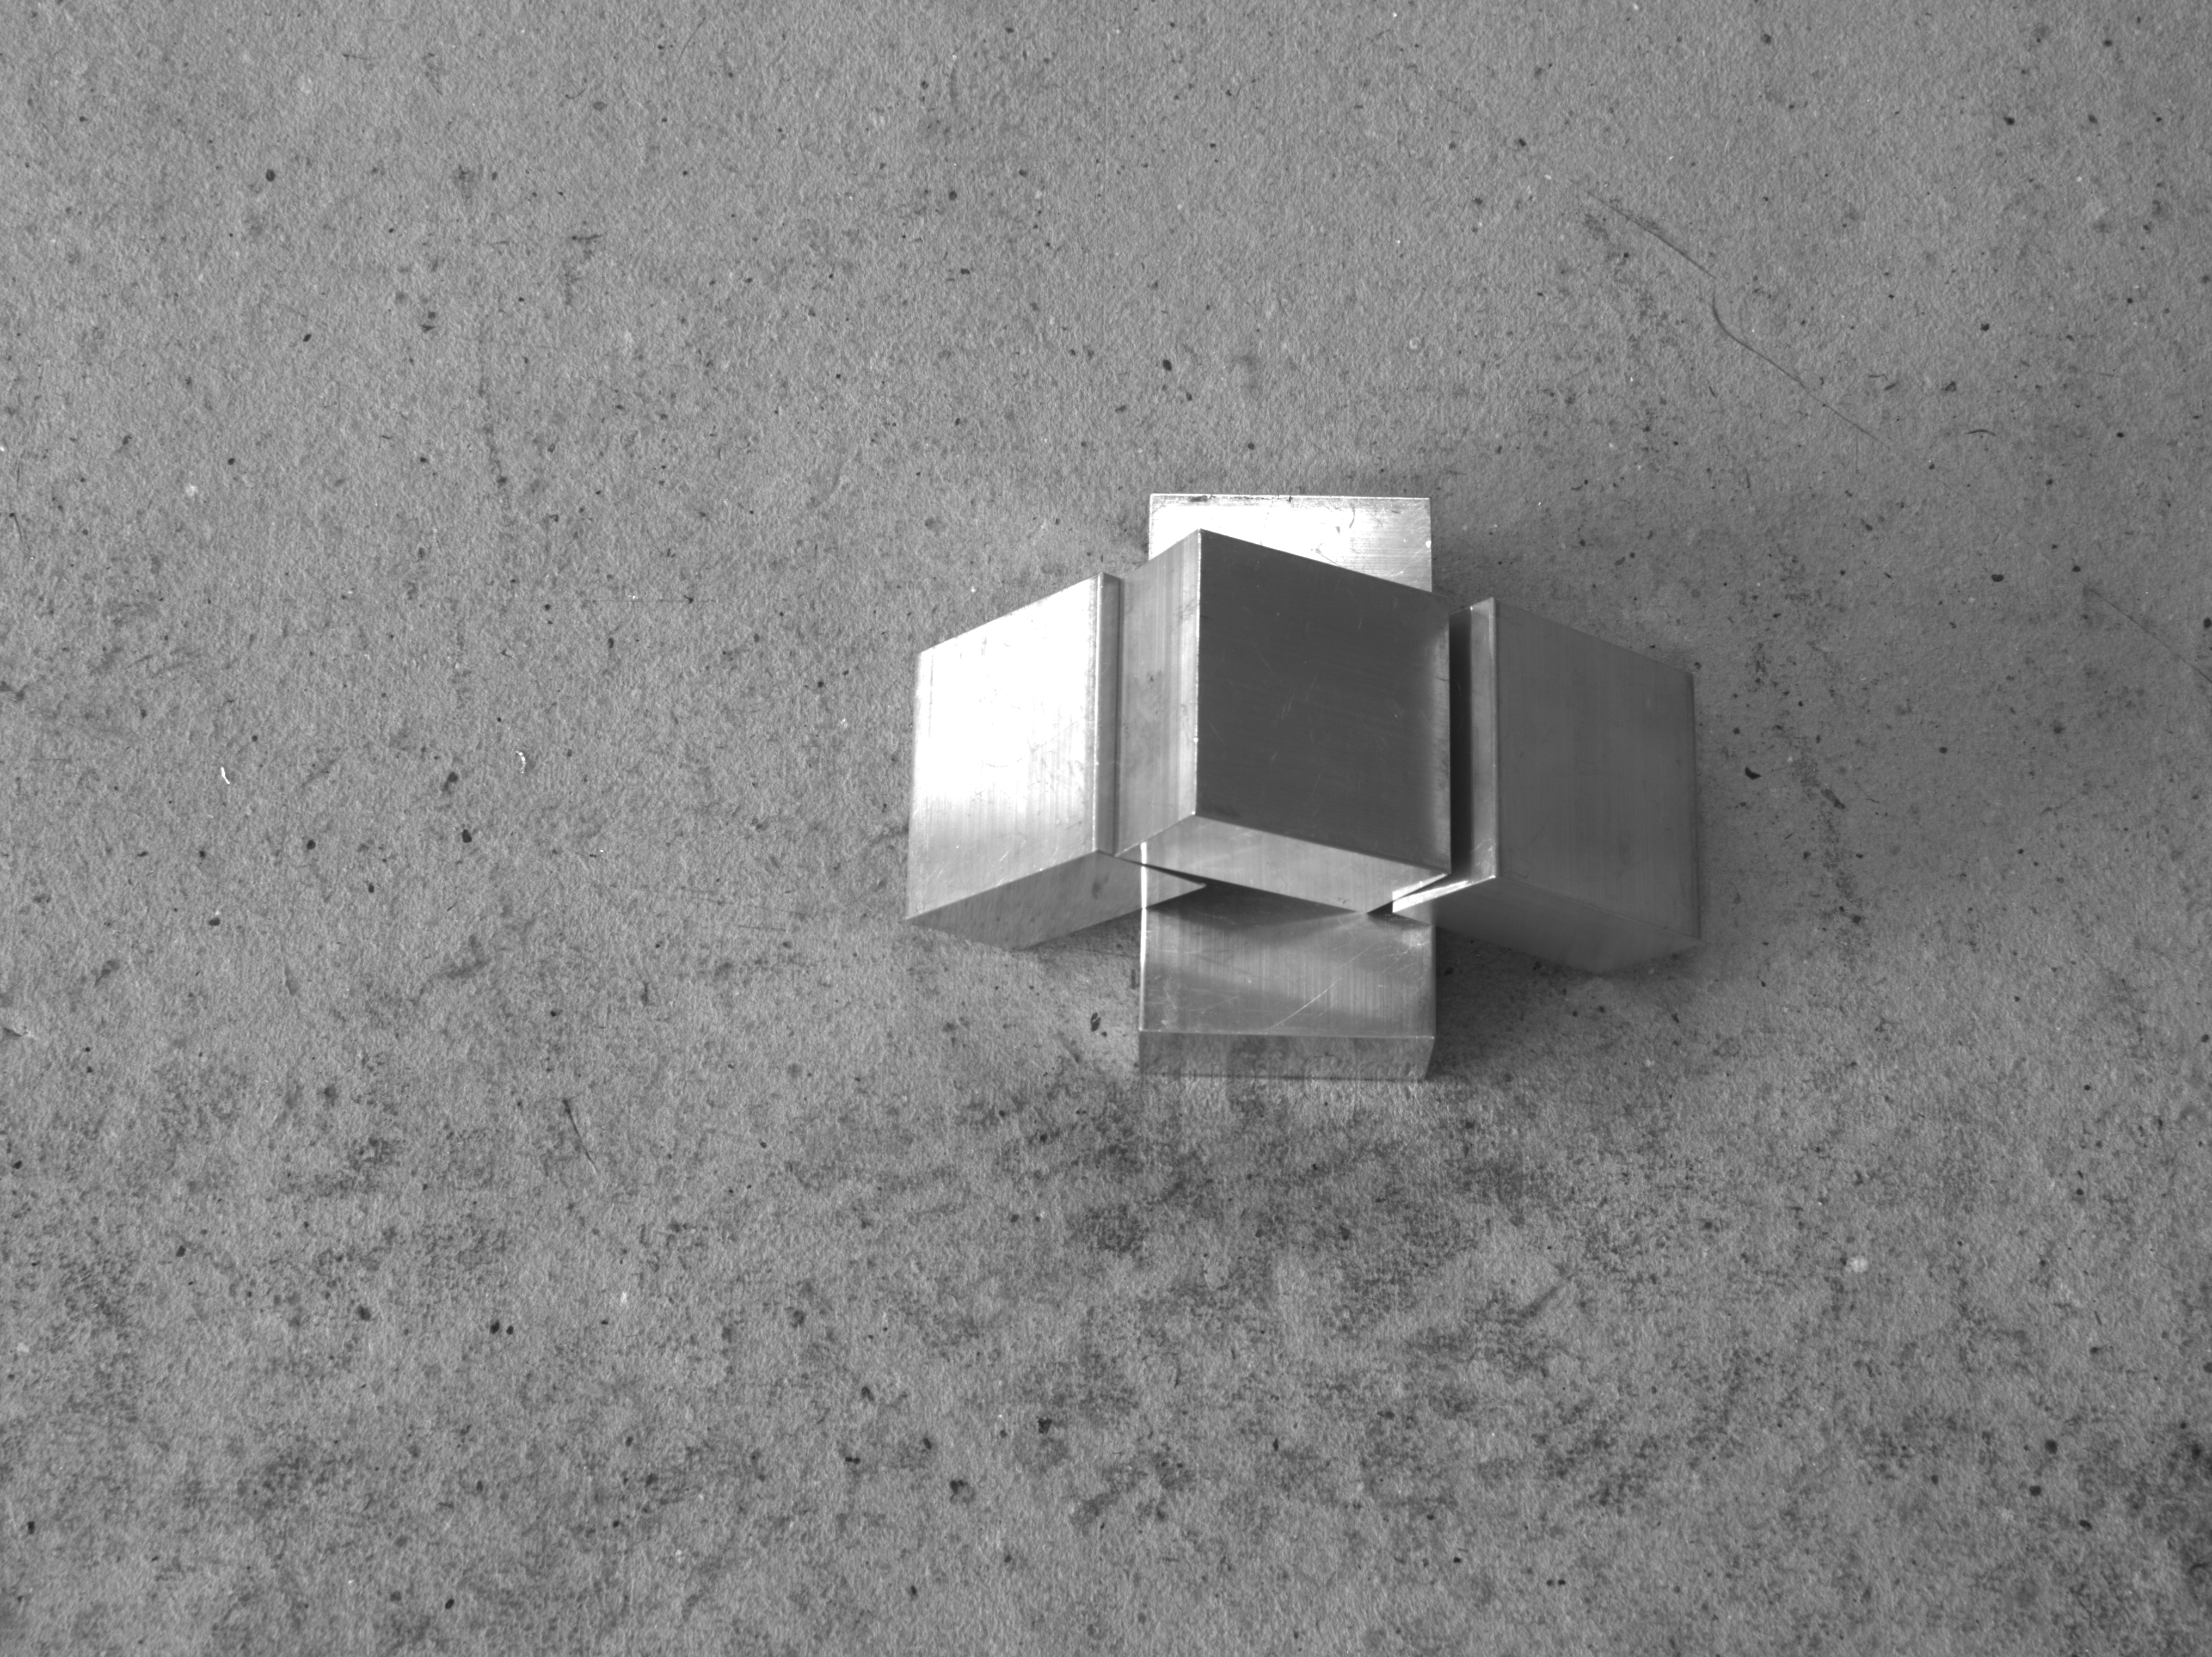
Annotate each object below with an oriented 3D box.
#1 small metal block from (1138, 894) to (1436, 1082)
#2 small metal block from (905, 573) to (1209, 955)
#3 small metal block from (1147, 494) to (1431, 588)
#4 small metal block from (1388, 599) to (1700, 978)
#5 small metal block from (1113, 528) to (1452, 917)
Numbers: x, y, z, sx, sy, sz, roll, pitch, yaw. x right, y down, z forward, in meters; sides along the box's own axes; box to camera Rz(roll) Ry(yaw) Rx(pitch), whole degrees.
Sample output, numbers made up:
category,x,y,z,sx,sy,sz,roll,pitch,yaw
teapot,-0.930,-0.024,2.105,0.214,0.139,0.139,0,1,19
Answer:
category,x,y,z,sx,sy,sz,roll,pitch,yaw
small metal block,0.031,0.016,0.640,0.050,0.025,0.050,1,70,0
small metal block,-0.008,-0.010,0.635,0.025,0.050,0.050,18,64,-38
small metal block,0.032,-0.031,0.657,0.050,0.025,0.050,1,70,0
small metal block,0.075,-0.006,0.635,0.050,0.025,0.050,17,65,-36
small metal block,0.030,-0.017,0.613,0.050,0.025,0.050,13,67,-28
